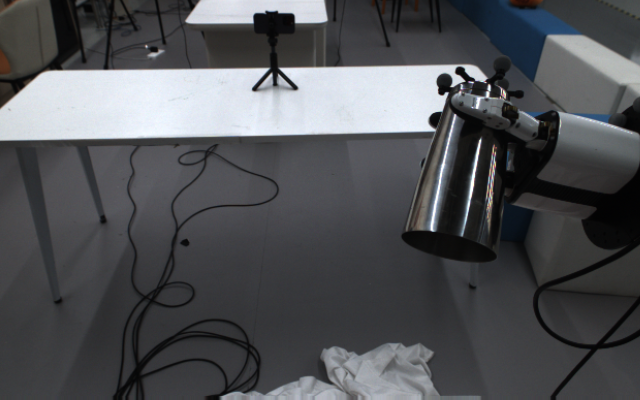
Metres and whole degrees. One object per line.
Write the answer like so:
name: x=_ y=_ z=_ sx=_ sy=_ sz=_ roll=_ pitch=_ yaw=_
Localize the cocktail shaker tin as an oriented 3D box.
cocktail shaker tin: x=0.150 y=-0.034 z=0.497 sx=0.093 sy=0.093 sz=0.170 roll=12 pitch=72 yaw=14
